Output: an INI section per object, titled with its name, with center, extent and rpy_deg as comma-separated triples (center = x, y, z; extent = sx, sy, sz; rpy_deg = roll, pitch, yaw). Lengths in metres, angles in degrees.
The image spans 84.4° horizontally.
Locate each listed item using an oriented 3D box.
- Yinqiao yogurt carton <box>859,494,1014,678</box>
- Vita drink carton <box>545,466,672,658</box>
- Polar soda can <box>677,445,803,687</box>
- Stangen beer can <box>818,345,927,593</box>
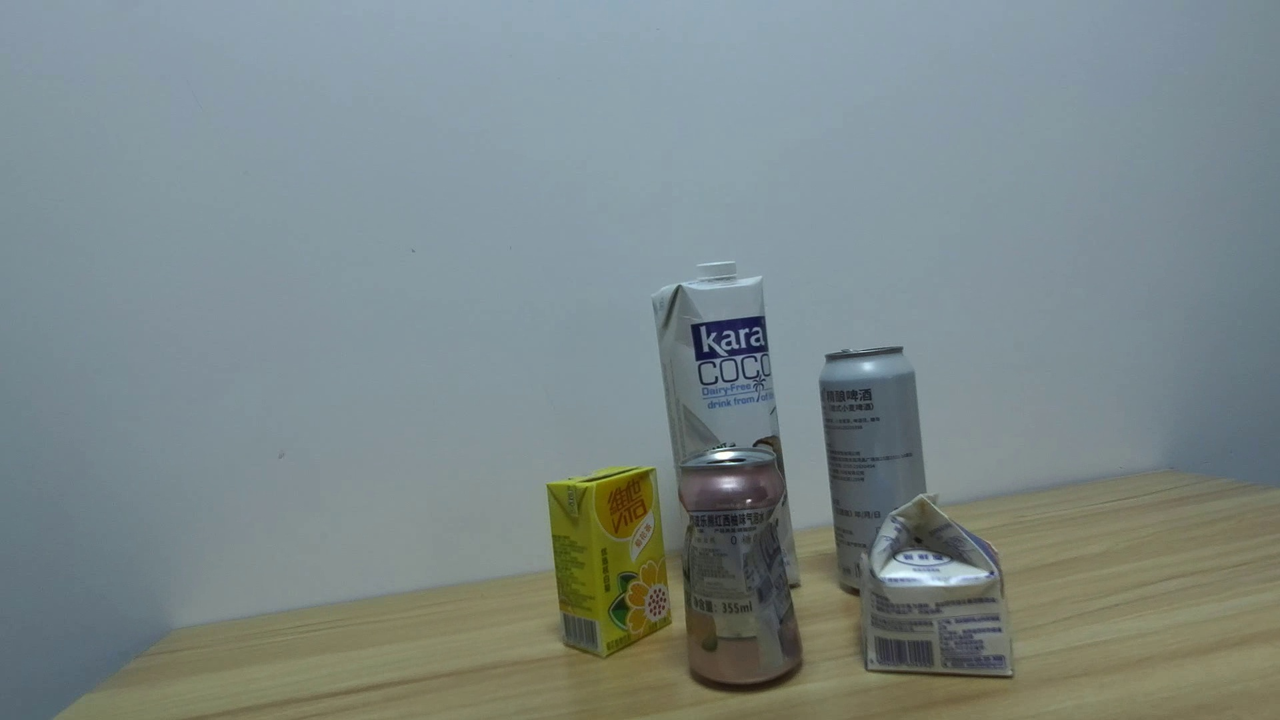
[Yinqiao yogurt carton]
center = 0.160, 0.116, 0.393
extent = 0.077, 0.093, 0.083
rpy_deg = -6, -1, 20
[Vita drink carton]
center = -0.019, 0.129, 0.470
extent = 0.043, 0.109, 0.067
rpy_deg = -6, 0, 44
[Polar soda can]
center = 0.057, 0.116, 0.402
extent = 0.074, 0.121, 0.067
rpy_deg = -6, -1, -33
[Stangen beer can]
center = 0.167, 0.078, 0.504
extent = 0.067, 0.171, 0.067
rpy_deg = -5, -3, 0
